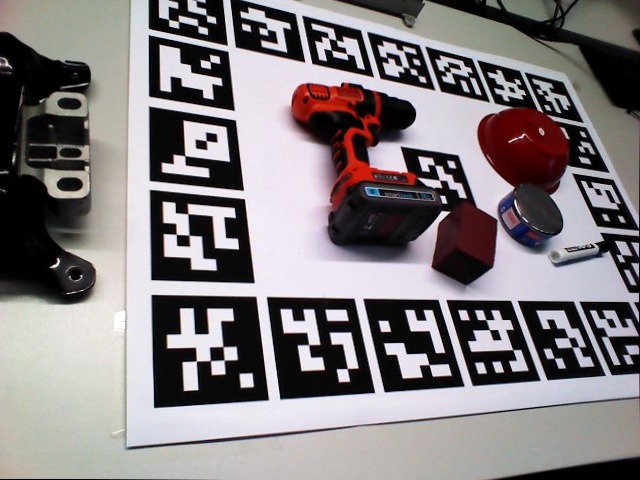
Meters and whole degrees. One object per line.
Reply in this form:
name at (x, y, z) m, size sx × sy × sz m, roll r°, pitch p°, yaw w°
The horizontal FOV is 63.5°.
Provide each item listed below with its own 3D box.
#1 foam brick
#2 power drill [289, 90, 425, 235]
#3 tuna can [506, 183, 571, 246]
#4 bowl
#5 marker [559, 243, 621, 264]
foam brick at (0.181, 0.009, 0.629) m, size 0.051 × 0.053 × 0.077 m, roll 26°, pitch 54°, yaw -12°
power drill at (0.061, -0.098, 0.629) m, size 0.184 × 0.058 × 0.186 m, roll 4°, pitch 57°, yaw -28°
tuna can at (0.302, -0.035, 0.717) m, size 0.085 × 0.034 × 0.085 m, roll 14°, pitch 56°, yaw -21°
bowl at (0.328, -0.145, 0.796) m, size 0.161 × 0.055 × 0.160 m, roll 11°, pitch 51°, yaw -15°
marker at (0.386, 0.019, 0.733) m, size 0.120 × 0.020 × 0.019 m, roll -6°, pitch 66°, yaw -29°
